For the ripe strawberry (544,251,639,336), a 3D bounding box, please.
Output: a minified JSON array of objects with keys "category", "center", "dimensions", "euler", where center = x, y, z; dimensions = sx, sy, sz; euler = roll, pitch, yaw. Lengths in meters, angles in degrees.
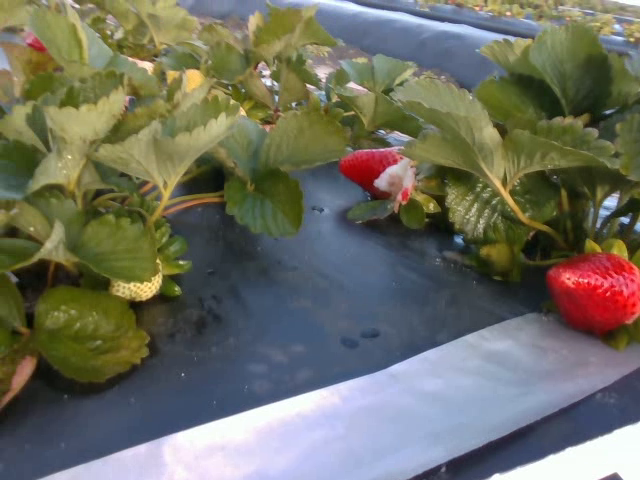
[{"category":"ripe strawberry","center":[0.104,0.017,0.233],"dimensions":[0.055,0.036,0.050],"euler":[-3,33,-25]}]
